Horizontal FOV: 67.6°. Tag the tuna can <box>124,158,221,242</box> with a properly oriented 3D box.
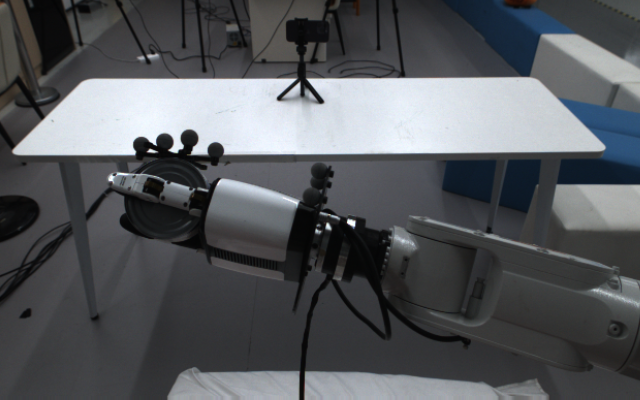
[{"bbox_3d":[-0.154,0.001,0.508,0.085,0.034,0.085,0,77,-1],"label":"tuna can"}]
